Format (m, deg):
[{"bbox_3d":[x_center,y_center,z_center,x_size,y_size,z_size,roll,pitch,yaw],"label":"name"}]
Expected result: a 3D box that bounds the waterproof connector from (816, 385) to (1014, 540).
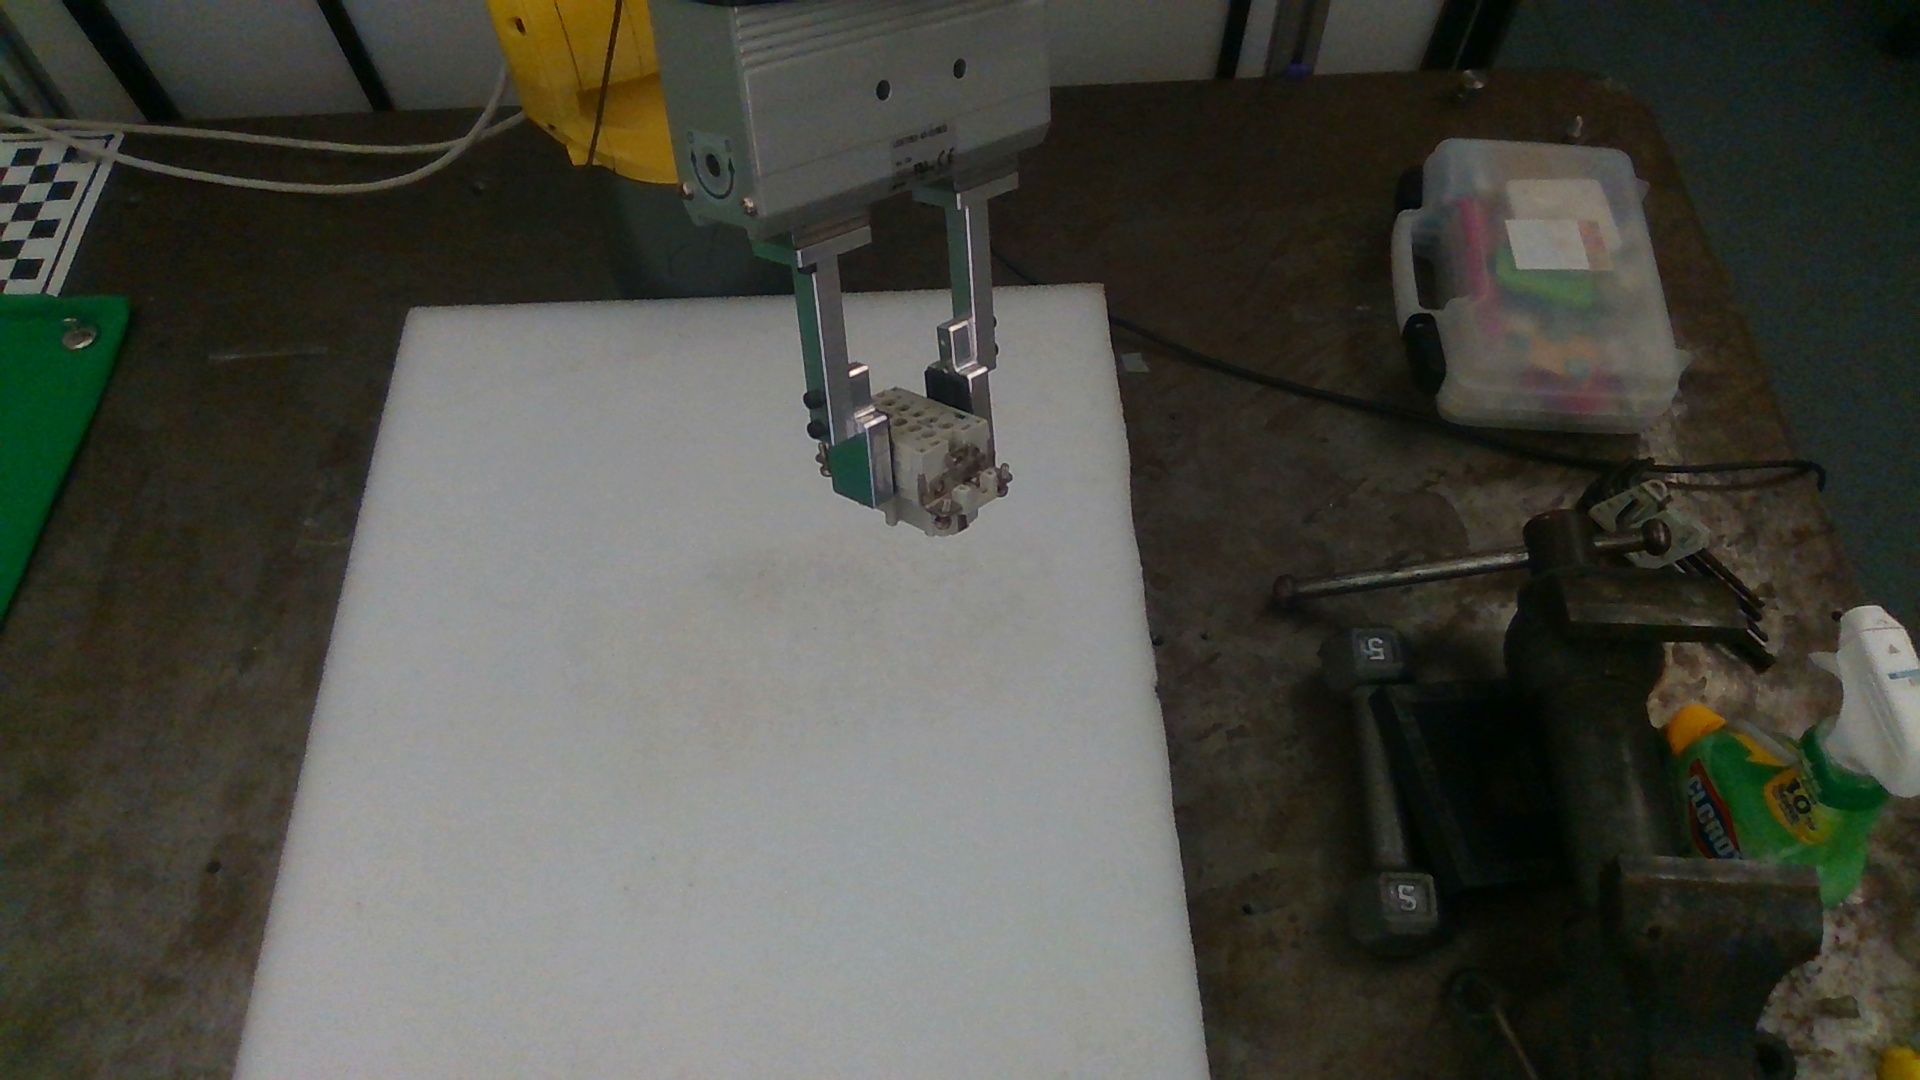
[{"bbox_3d":[-0.018,-0.025,0.483,0.069,0.038,0.036,24,44,35],"label":"waterproof connector"}]
